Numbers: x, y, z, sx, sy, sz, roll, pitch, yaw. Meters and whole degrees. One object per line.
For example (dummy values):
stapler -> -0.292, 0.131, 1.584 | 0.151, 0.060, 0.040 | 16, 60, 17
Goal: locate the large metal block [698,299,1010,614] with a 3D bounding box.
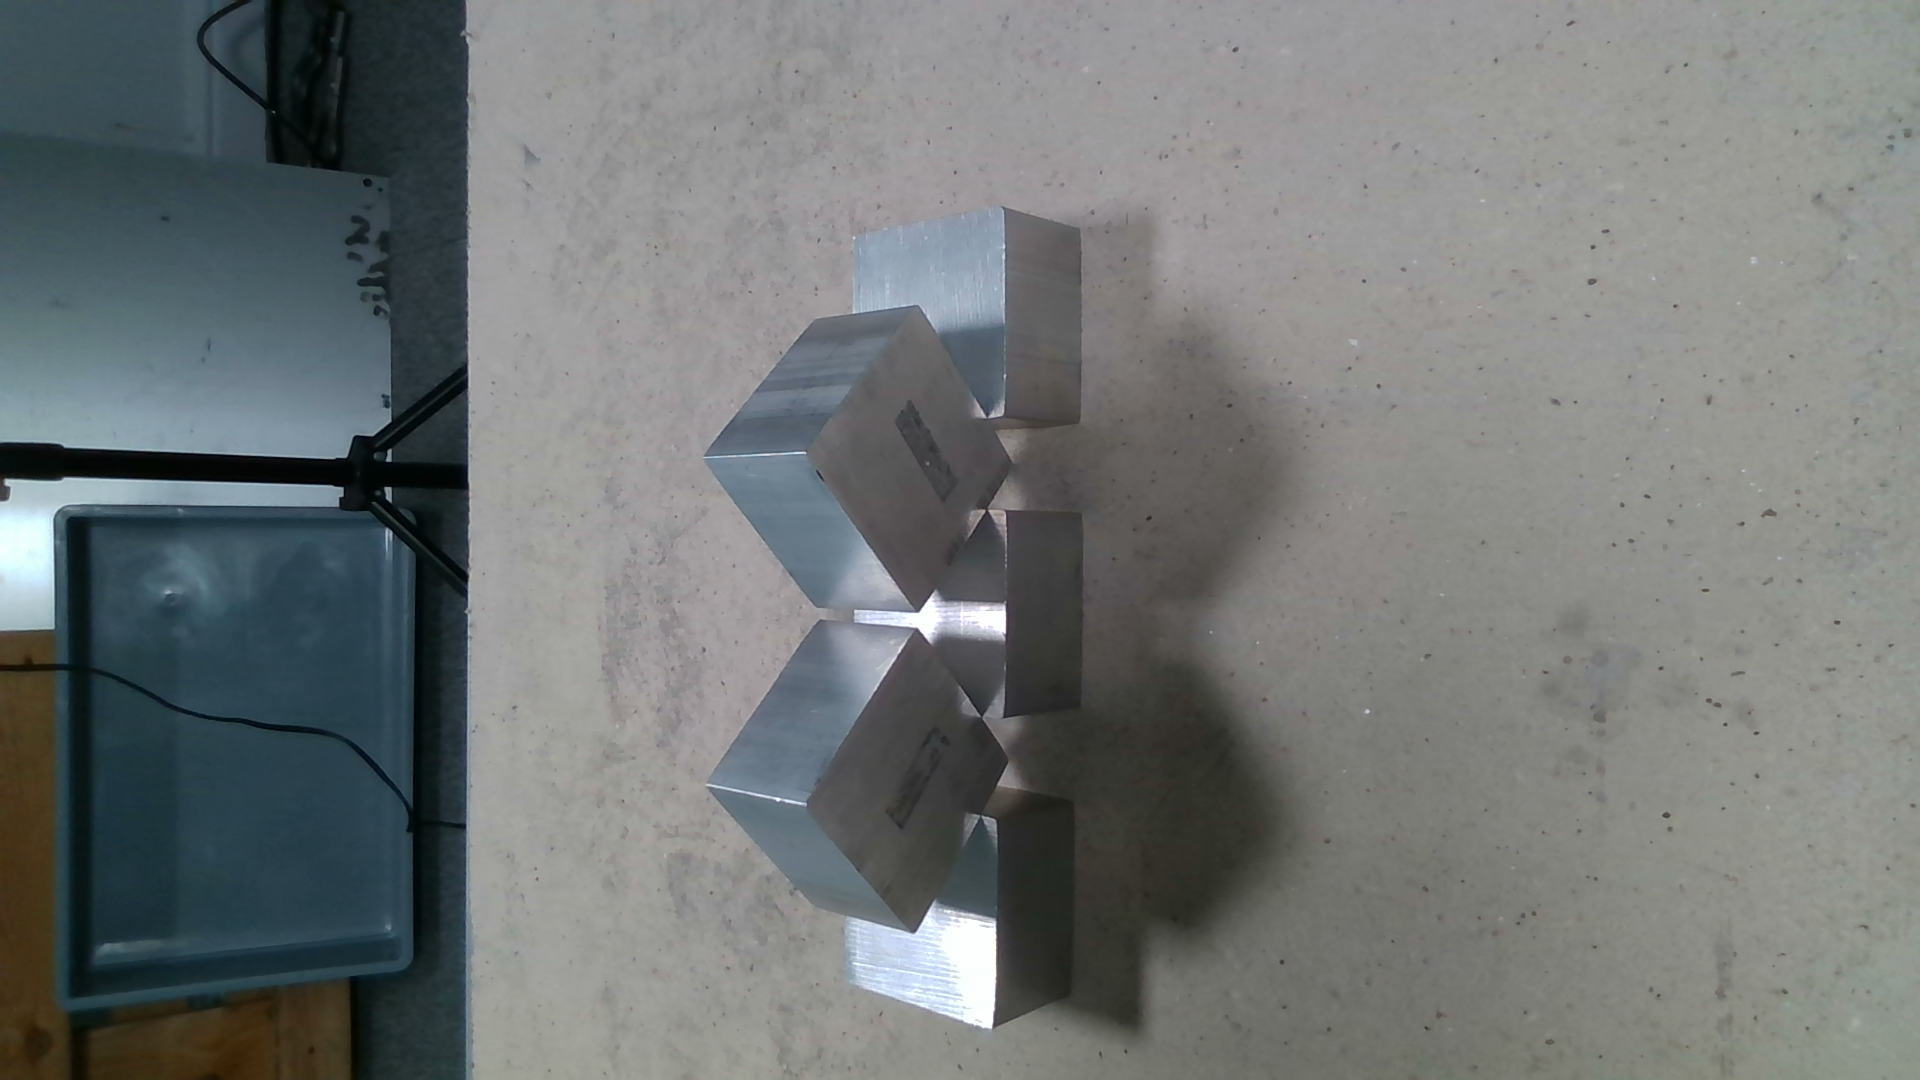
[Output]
large metal block -> -0.036, -0.030, 0.511 | 0.050, 0.080, 0.080 | 0, 135, 41

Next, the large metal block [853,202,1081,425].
large metal block -> 0.002, -0.087, 0.563 | 0.080, 0.050, 0.080 | 0, 91, 40

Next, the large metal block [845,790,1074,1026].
large metal block -> -0.001, 0.145, 0.569 | 0.080, 0.050, 0.080 | 2, 92, 40

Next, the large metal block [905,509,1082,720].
large metal block -> 0.003, 0.028, 0.564 | 0.080, 0.050, 0.080 | 1, 91, 40

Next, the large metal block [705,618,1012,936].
large metal block -> -0.035, 0.087, 0.514 | 0.050, 0.080, 0.080 | 2, 47, 40
